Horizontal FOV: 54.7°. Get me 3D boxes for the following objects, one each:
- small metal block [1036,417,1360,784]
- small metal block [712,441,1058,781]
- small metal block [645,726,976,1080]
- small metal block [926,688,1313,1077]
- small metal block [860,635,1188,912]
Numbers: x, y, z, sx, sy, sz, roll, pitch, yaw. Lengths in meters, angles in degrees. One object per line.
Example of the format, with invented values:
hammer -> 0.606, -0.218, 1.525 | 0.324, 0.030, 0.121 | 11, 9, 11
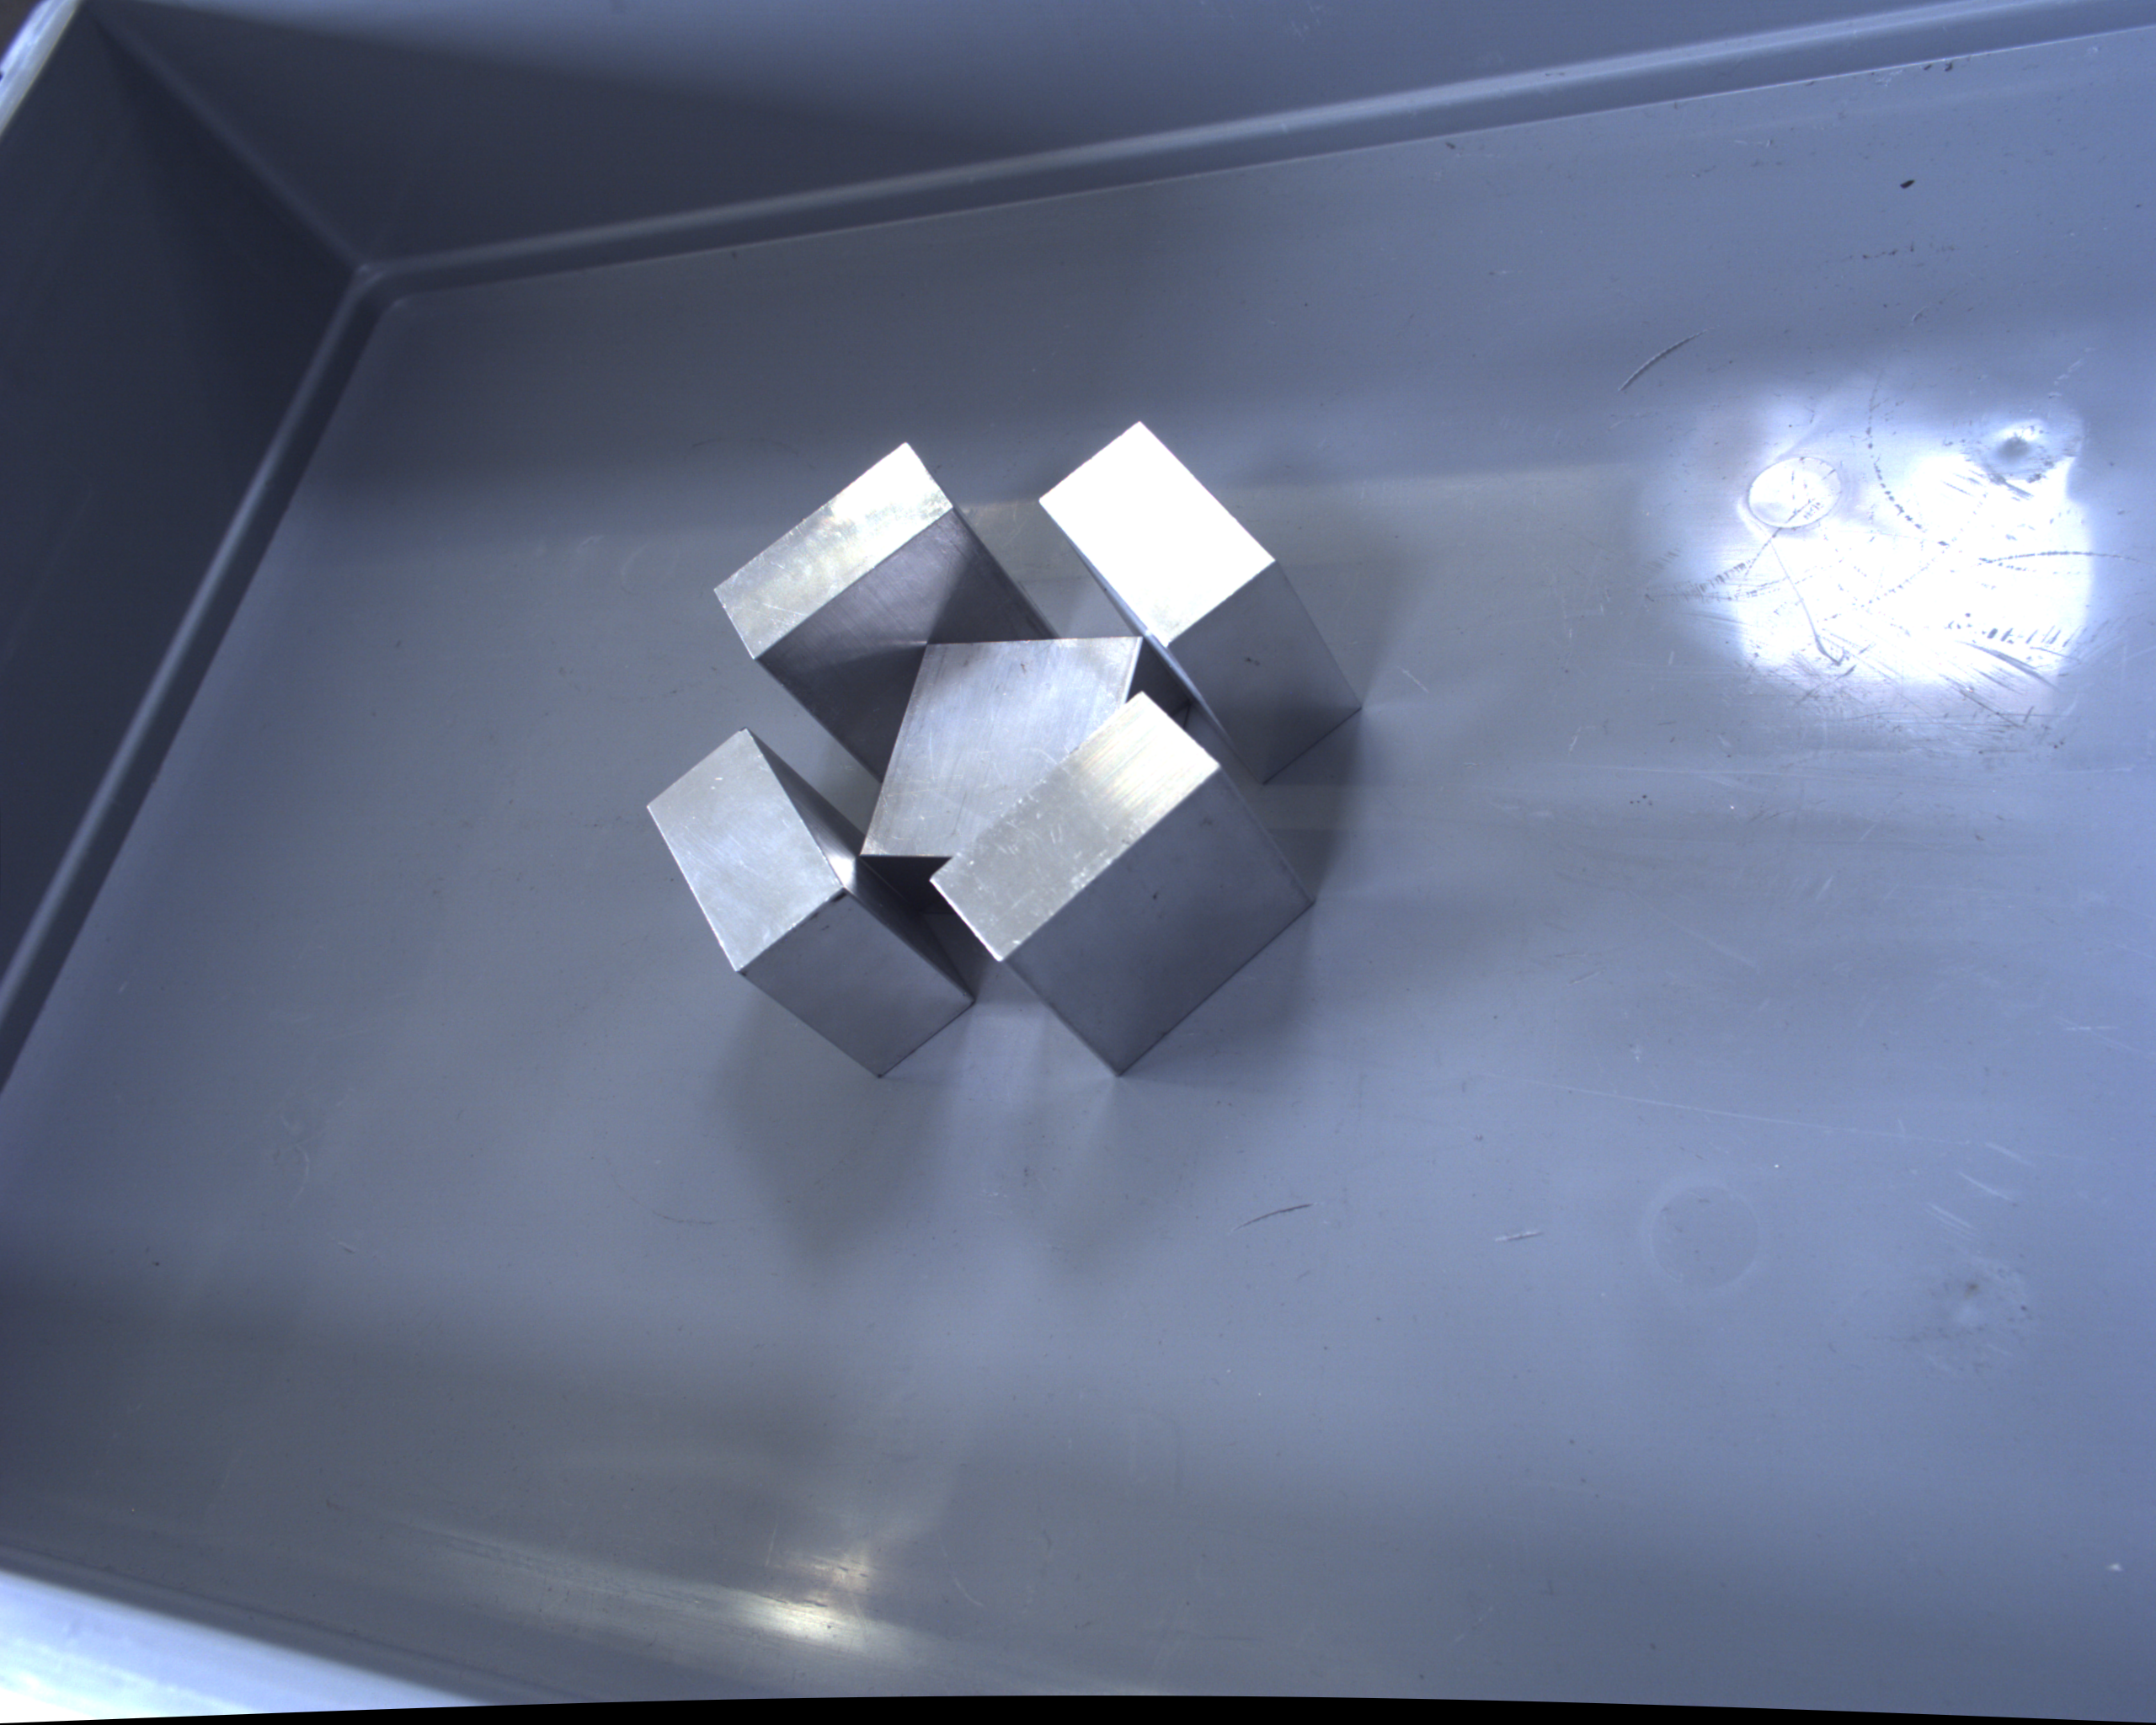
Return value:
small metal block -> 0.024, -0.050, 0.405 | 0.025, 0.050, 0.050 | -38, 52, 2
small metal block -> -0.039, -0.052, 0.439 | 0.050, 0.050, 0.025 | -37, 50, 5
small metal block -> -0.052, 0.008, 0.410 | 0.025, 0.050, 0.050 | -39, 51, 3
small metal block -> 0.009, 0.005, 0.379 | 0.050, 0.050, 0.025 | -42, 52, -1
small metal block -> -0.010, -0.017, 0.419 | 0.050, 0.025, 0.050 | 1, 62, 28
